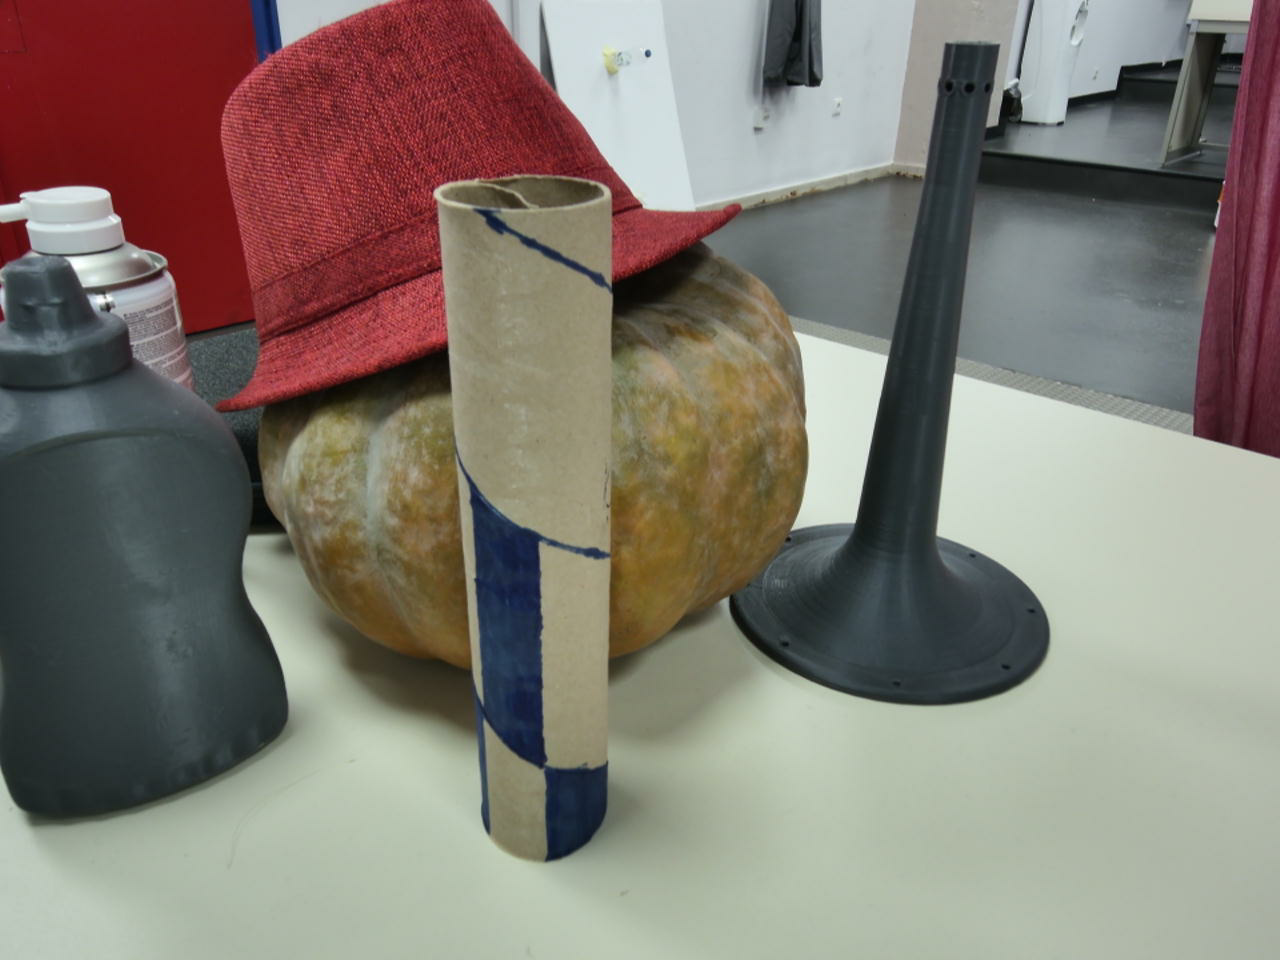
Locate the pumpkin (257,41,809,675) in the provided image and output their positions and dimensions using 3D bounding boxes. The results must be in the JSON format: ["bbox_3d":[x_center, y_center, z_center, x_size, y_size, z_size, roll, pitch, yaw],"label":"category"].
[{"bbox_3d":[-0.046,-0.021,0.459,0.252,0.169,0.251,0,25,0],"label":"pumpkin"}]
